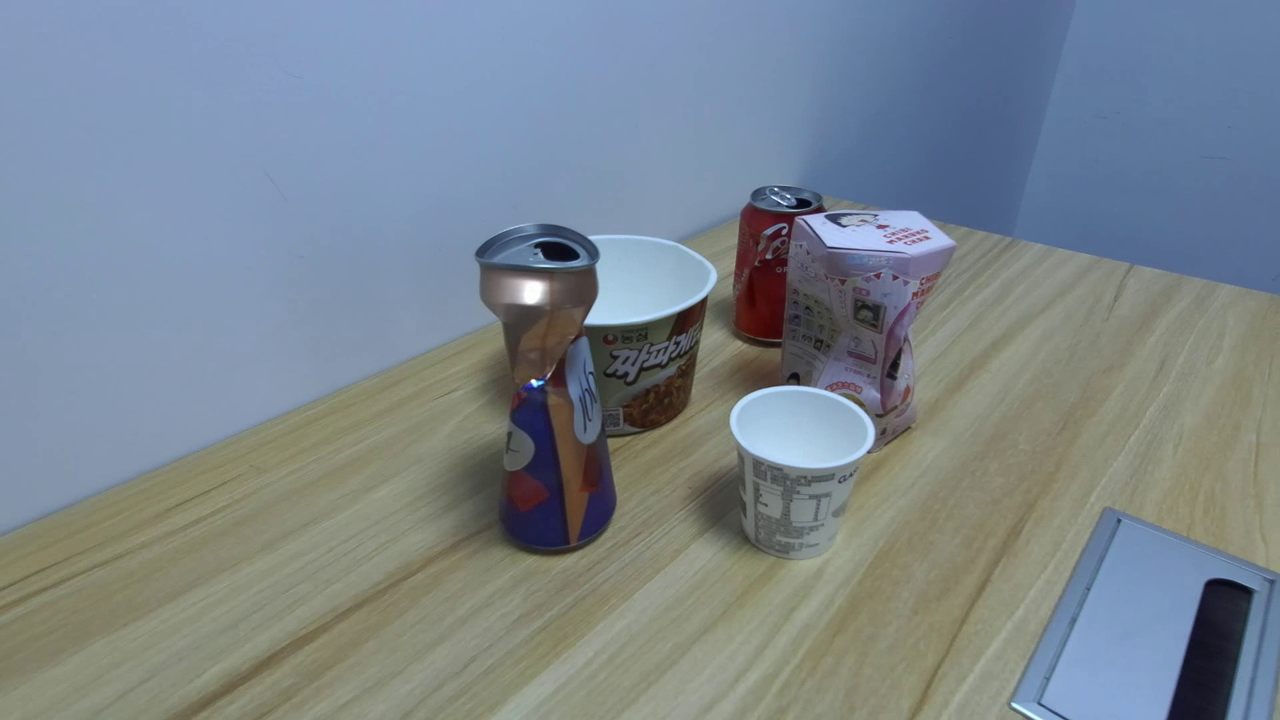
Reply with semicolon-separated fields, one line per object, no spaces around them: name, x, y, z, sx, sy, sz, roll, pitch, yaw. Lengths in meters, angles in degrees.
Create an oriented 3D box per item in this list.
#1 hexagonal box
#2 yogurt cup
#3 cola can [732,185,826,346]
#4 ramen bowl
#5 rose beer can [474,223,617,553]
hexagonal box;0.134;-0.018;0.439;0.093;0.135;0.089;8;31;13
yogurt cup;0.081;0.060;0.368;0.072;0.068;0.072;-1;31;1
cola can;0.108;-0.073;0.550;0.066;0.117;0.065;-12;31;-19
ramen bowl;-0.019;-0.017;0.481;0.140;0.095;0.140;-1;30;1
rose beer can;-0.047;0.018;0.361;0.068;0.162;0.073;-21;35;-33
